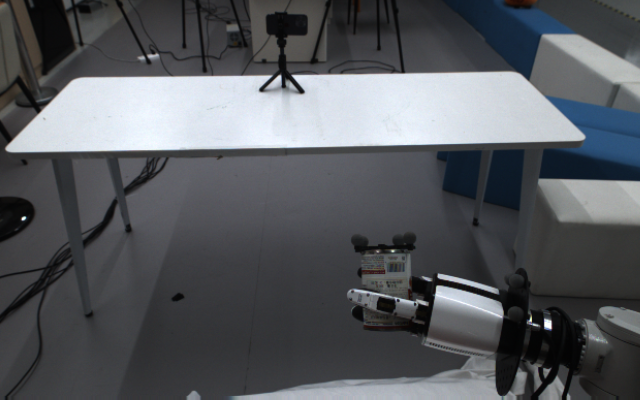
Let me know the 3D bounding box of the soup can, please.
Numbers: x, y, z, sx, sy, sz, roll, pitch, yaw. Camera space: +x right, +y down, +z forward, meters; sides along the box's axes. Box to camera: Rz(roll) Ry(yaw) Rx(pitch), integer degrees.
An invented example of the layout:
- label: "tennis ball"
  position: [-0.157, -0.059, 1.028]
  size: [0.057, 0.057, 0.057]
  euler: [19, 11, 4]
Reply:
- label: "soup can"
  position: [0.091, 0.119, 0.641]
  size: [0.067, 0.101, 0.067]
  euler: [-1, -9, 0]
